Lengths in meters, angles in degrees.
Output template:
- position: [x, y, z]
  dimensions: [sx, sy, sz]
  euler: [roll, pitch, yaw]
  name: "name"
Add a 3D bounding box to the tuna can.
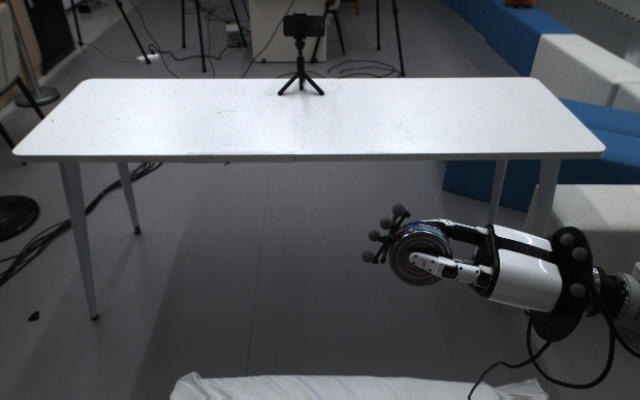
- position: [0.140, 0.072, 0.663]
  dimensions: [0.085, 0.085, 0.034]
  euler: [3, 20, 1]
  name: "tuna can"
